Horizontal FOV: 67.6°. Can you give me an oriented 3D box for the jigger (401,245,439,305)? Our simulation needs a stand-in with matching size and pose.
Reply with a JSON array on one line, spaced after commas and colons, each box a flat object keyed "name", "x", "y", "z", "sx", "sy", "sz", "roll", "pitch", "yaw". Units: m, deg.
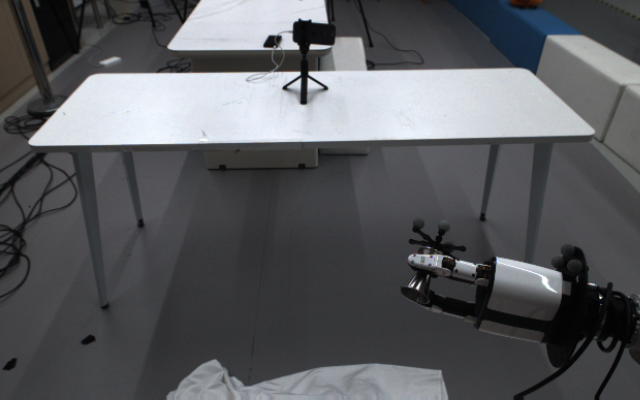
[{"name": "jigger", "x": 0.140, "y": 0.097, "z": 0.673, "sx": 0.043, "sy": 0.043, "sz": 0.071, "roll": 20, "pitch": 62, "yaw": 24}]
